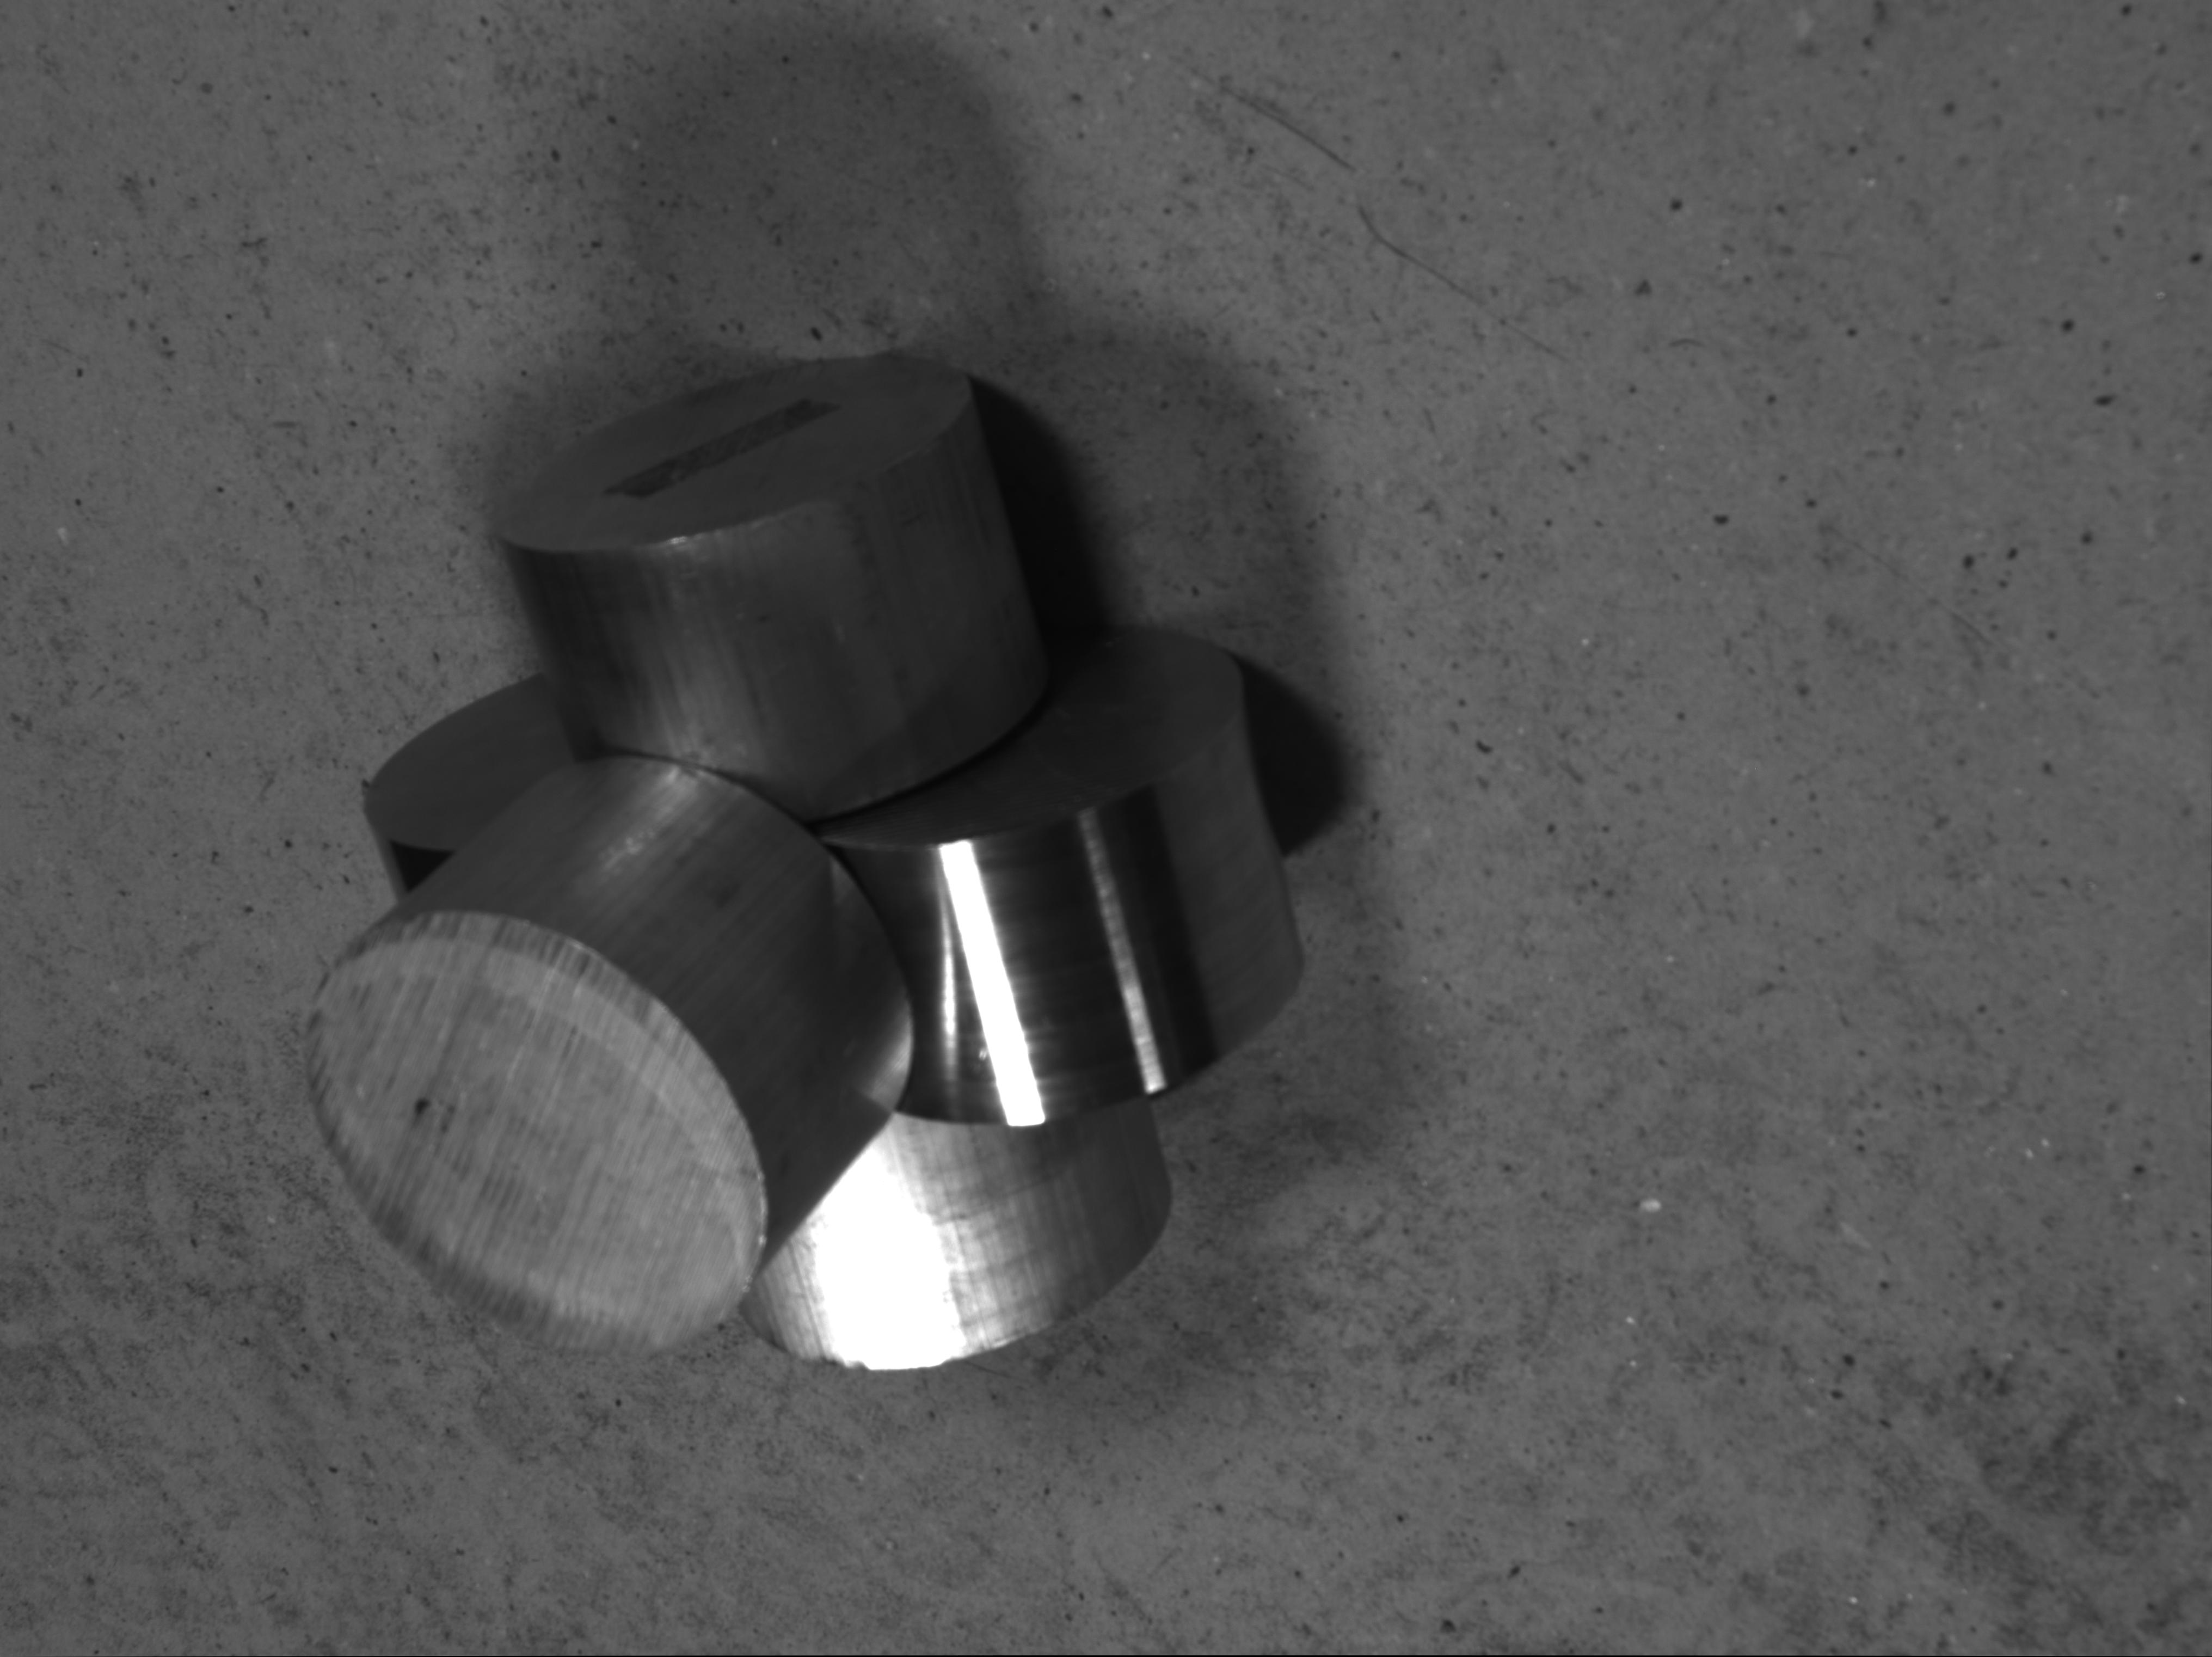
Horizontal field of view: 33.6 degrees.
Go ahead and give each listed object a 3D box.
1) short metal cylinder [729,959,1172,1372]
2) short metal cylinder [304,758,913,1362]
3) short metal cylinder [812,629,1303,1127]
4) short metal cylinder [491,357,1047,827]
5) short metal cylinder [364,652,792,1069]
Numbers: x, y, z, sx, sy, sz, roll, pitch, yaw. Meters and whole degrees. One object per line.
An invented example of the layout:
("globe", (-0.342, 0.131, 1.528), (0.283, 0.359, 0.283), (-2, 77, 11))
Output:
("short metal cylinder", (-0.033, 0.051, 0.643), (0.080, 0.080, 0.050), (0, 118, 27))
("short metal cylinder", (-0.077, 0.036, 0.573), (0.080, 0.050, 0.080), (12, 123, 20))
("short metal cylinder", (-0.012, 0.007, 0.606), (0.080, 0.080, 0.050), (0, 118, 27))
("short metal cylinder", (-0.054, -0.039, 0.600), (0.080, 0.080, 0.050), (-2, 117, 28))
("short metal cylinder", (-0.083, 0.007, 0.643), (0.080, 0.080, 0.050), (-1, 118, 27))
